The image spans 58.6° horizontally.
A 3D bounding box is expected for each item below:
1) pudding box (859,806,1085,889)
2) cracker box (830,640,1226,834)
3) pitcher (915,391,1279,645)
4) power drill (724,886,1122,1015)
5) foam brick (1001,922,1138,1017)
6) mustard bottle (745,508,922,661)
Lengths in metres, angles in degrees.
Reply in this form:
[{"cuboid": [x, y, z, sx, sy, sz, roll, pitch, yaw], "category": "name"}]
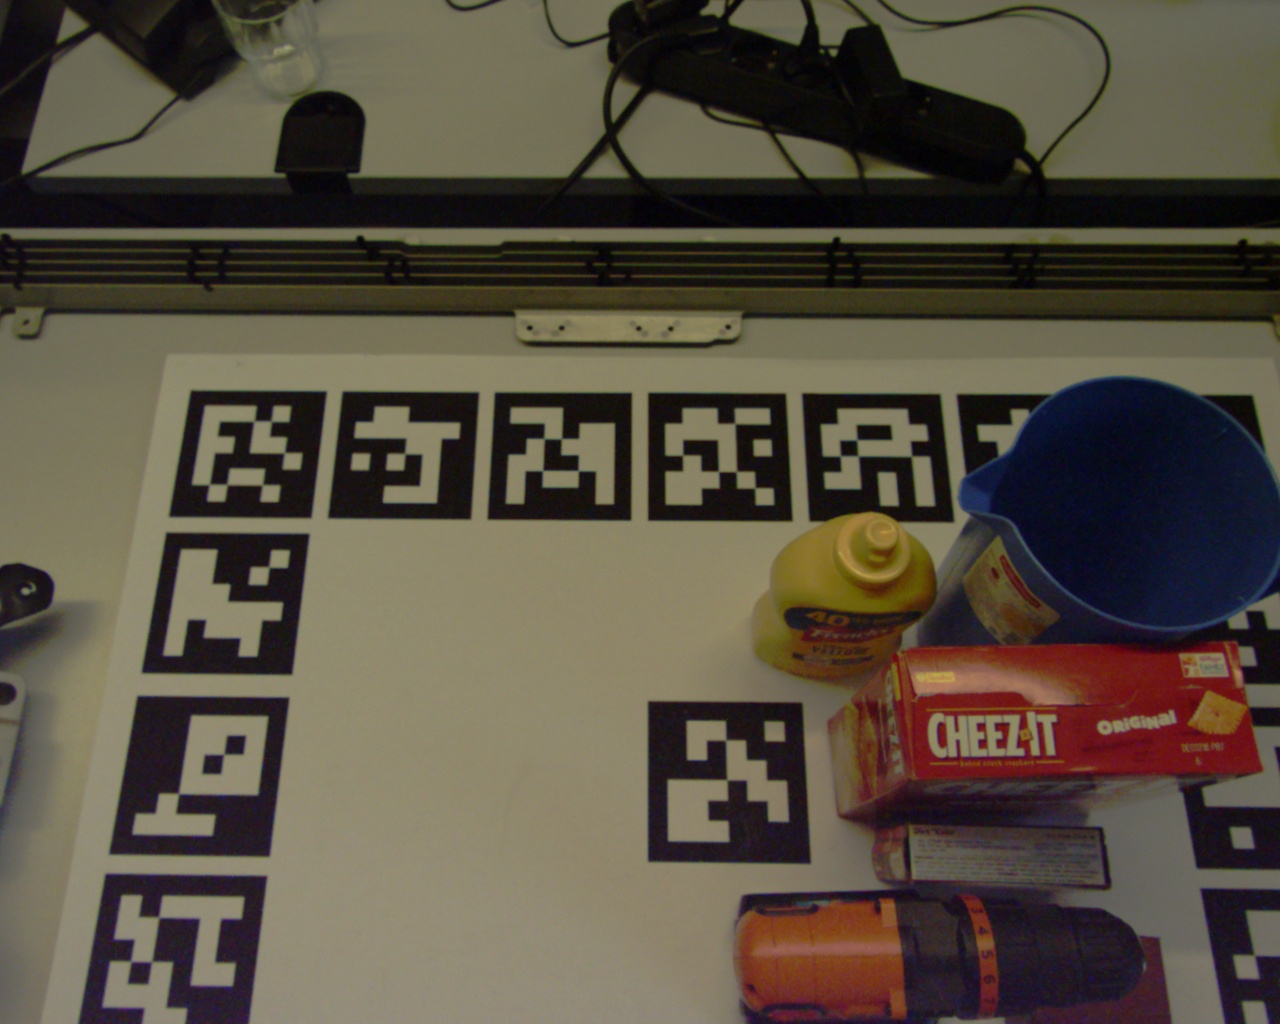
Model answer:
[{"cuboid": [0.195, 0.201, 0.684, 0.114, 0.089, 0.039, 1, 67, 4], "category": "pudding box"}, {"cuboid": [0.203, 0.136, 0.651, 0.164, 0.213, 0.072, -1, 67, 3], "category": "cracker box"}, {"cuboid": [0.252, 0.040, 0.682, 0.189, 0.241, 0.133, 7, 69, 5], "category": "pitcher"}, {"cuboid": [0.131, 0.232, 0.599, 0.184, 0.186, 0.057, 0, 66, 0], "category": "power drill"}, {"cuboid": [0.251, 0.274, 0.689, 0.078, 0.051, 0.053, 3, 71, 2], "category": "foam brick"}, {"cuboid": [0.119, 0.042, 0.697, 0.096, 0.191, 0.058, 14, 71, 6], "category": "mustard bottle"}]
